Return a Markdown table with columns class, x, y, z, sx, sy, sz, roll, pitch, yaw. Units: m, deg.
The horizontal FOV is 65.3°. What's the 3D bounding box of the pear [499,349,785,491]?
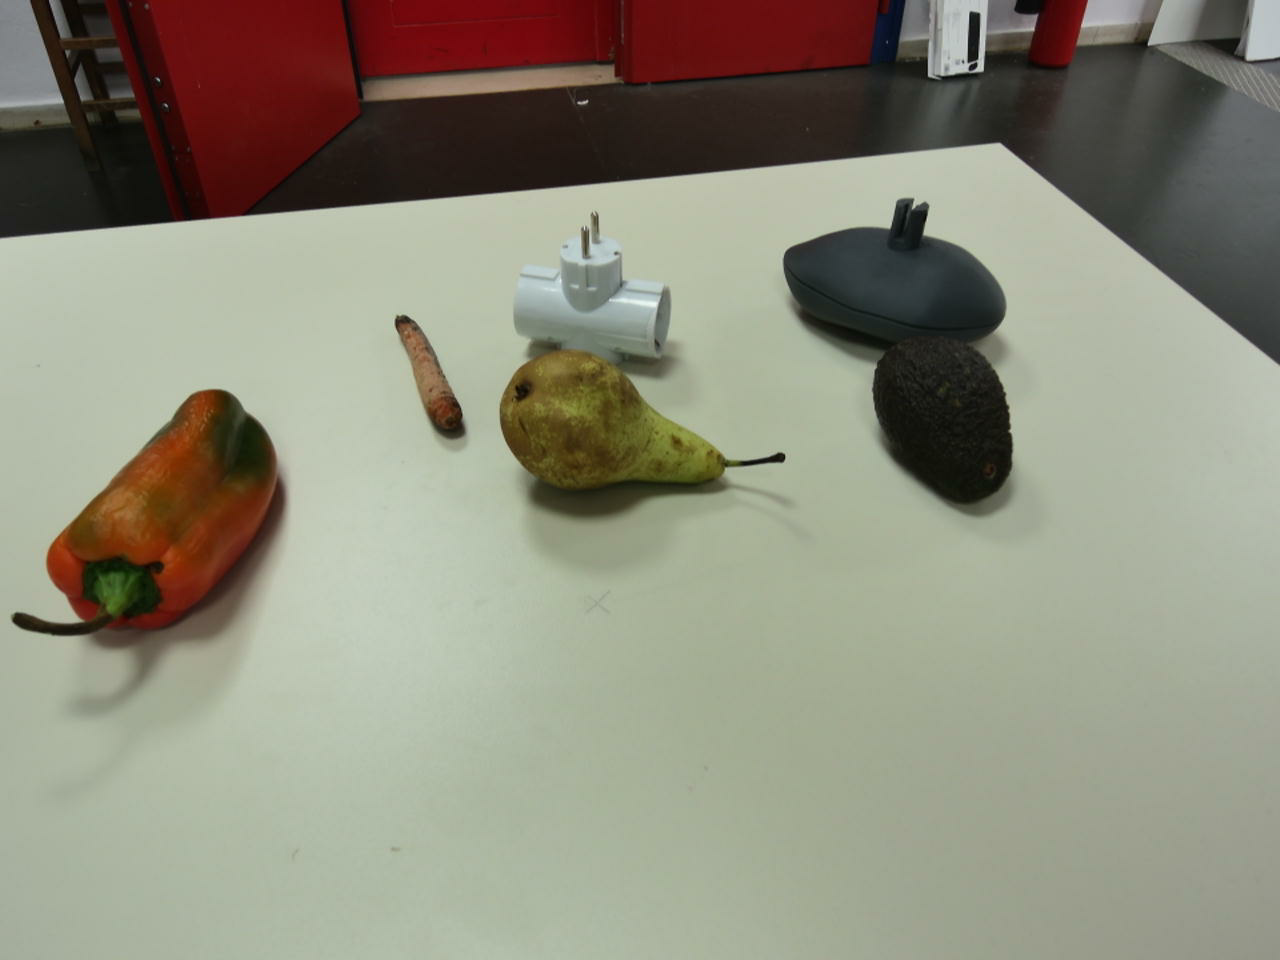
| class | x | y | z | sx | sy | sz | roll | pitch | yaw |
| --- | --- | --- | --- | --- | --- | --- | --- | --- | --- |
| pear | 0.000 | -0.033 | 0.521 | 0.144 | 0.075 | 0.071 | -4 | 39 | -4 |
